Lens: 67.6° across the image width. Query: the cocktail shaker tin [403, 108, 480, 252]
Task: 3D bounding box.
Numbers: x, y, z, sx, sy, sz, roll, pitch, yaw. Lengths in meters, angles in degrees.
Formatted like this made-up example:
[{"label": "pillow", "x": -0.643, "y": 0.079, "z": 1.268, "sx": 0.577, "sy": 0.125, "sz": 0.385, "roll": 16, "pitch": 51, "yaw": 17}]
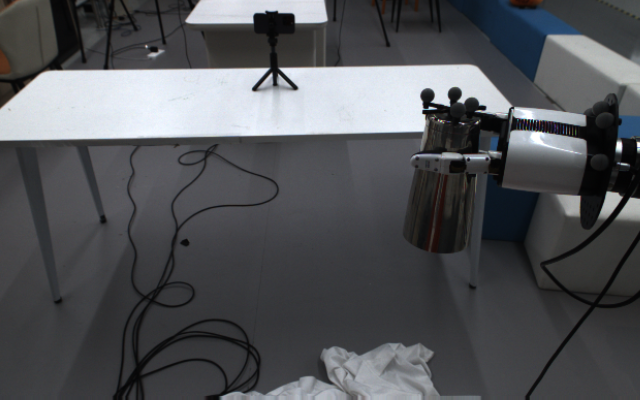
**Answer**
[{"label": "cocktail shaker tin", "x": 0.166, "y": -0.031, "z": 0.636, "sx": 0.093, "sy": 0.170, "sz": 0.093, "roll": 1, "pitch": 27, "yaw": -1}]
